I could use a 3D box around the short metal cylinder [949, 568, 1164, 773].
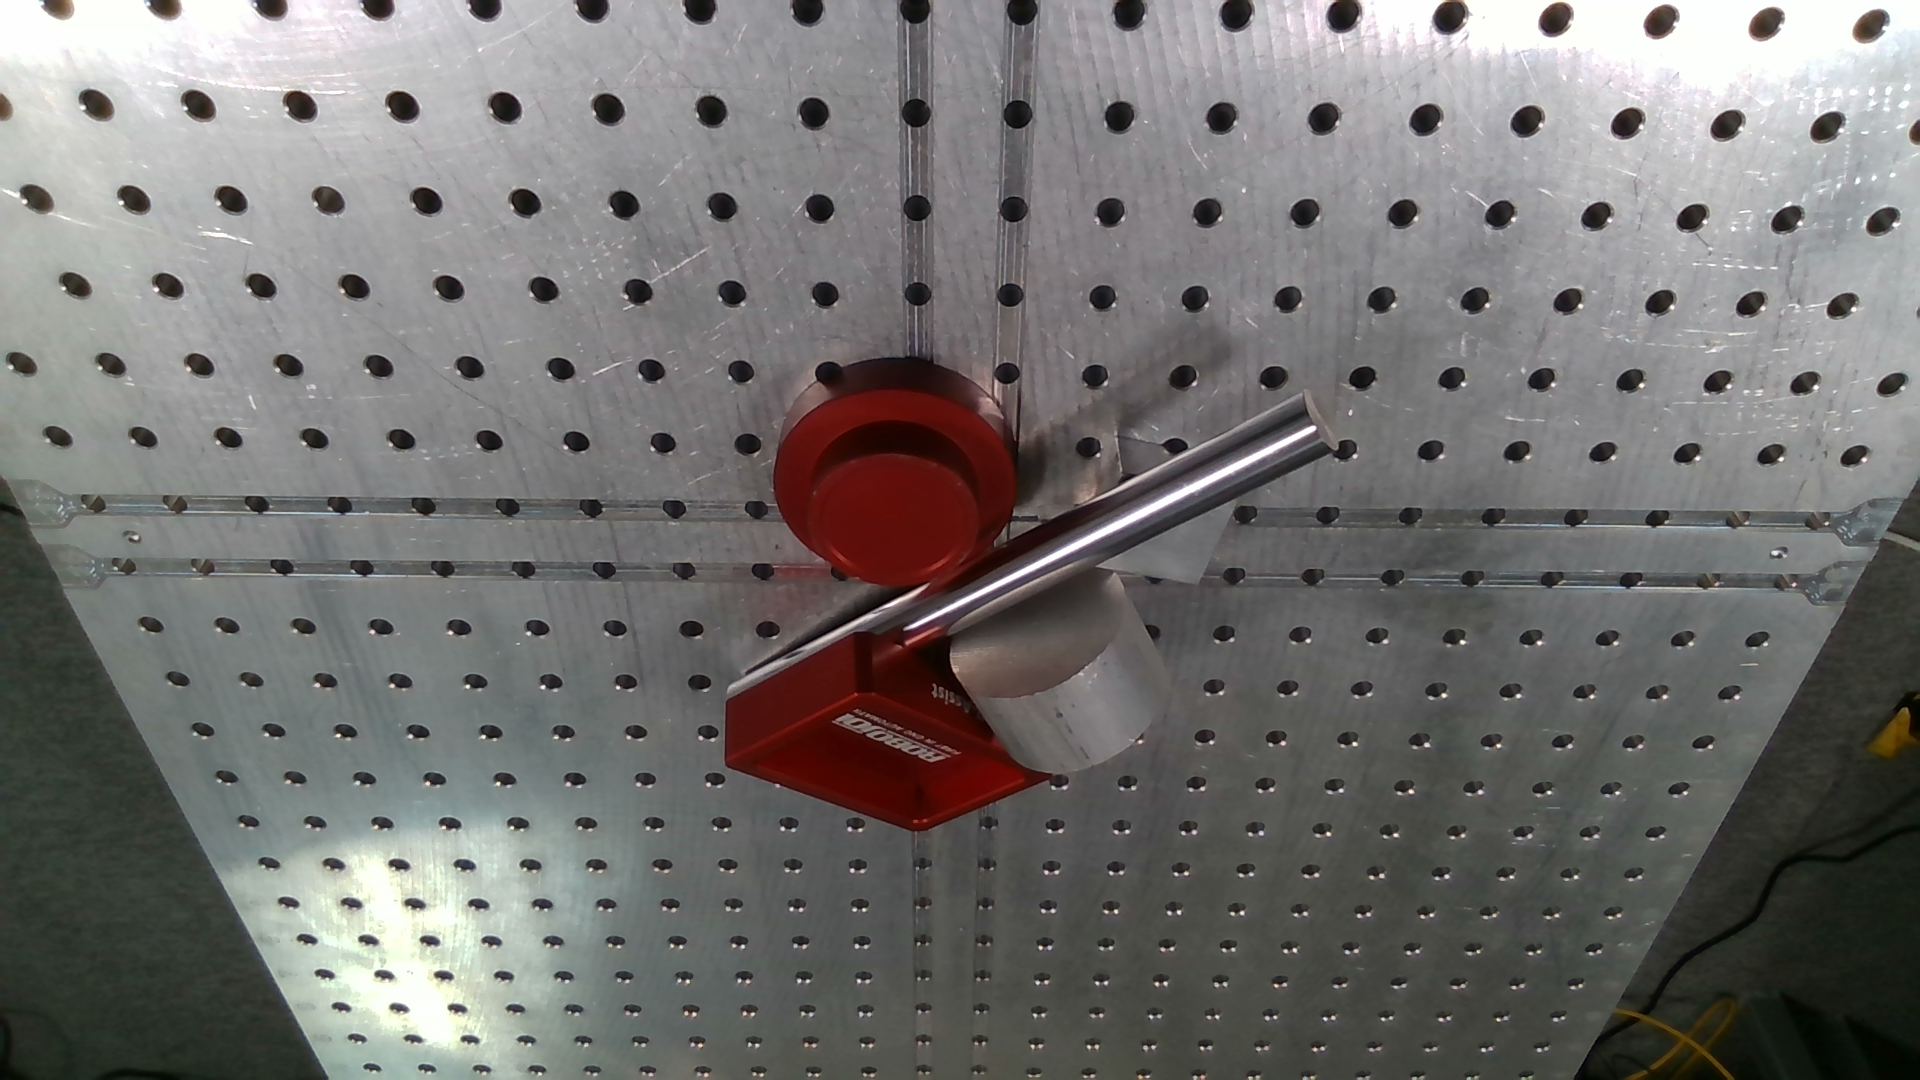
[{"bbox_3d":[0.042,0.052,0.590,0.080,0.080,0.050,-20,127,16],"label":"short metal cylinder"}]

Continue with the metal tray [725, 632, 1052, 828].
[{"bbox_3d":[-0.031,0.091,0.628,0.090,0.030,0.130,-29,140,31],"label":"metal tray"}]

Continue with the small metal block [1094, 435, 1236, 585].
[{"bbox_3d":[0.082,-0.012,0.573,0.050,0.025,0.050,10,129,-8],"label":"small metal block"}]

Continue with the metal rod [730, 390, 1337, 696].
[{"bbox_3d":[0.015,0.017,0.574,0.300,0.025,0.025,-27,125,31],"label":"metal rod"}]

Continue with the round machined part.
[{"bbox_3d":[-0.027,-0.020,0.553,0.098,0.042,0.098,0,130,0],"label":"round machined part"}]
